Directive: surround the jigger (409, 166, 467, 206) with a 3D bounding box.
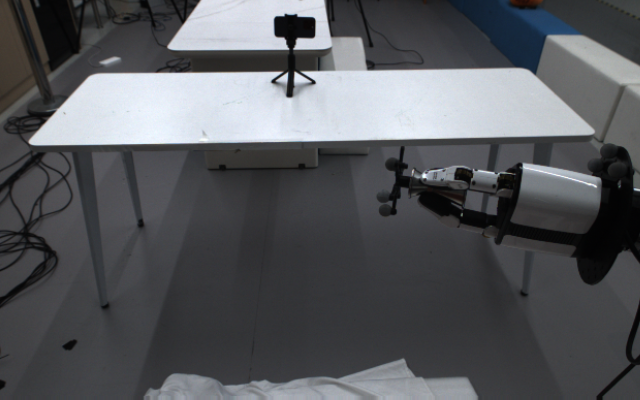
[{"bbox_3d":[0.153,-0.021,0.601,0.071,0.043,0.043,10,35,16],"label":"jigger"}]
